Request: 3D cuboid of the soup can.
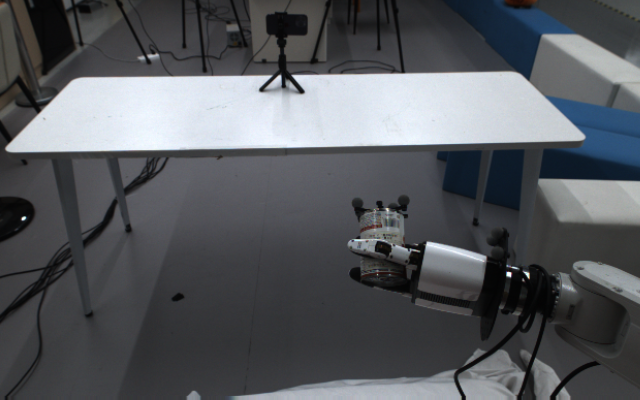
[{"bbox_3d":[0.093,0.071,0.711,0.067,0.067,0.101,1,69,-1],"label":"soup can"}]
